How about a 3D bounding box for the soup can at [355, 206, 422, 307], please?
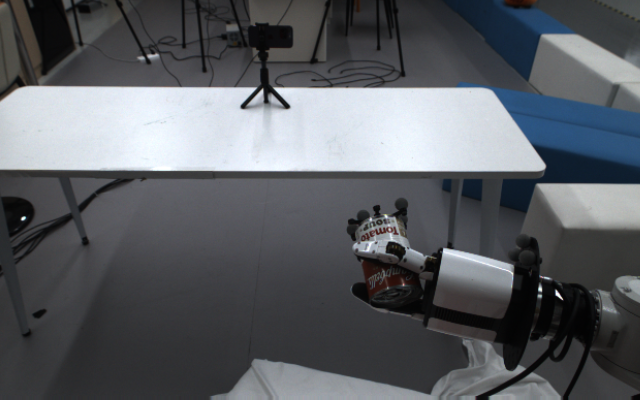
[{"bbox_3d":[0.088,0.078,0.618,0.067,0.067,0.101,-5,57,-10],"label":"soup can"}]
